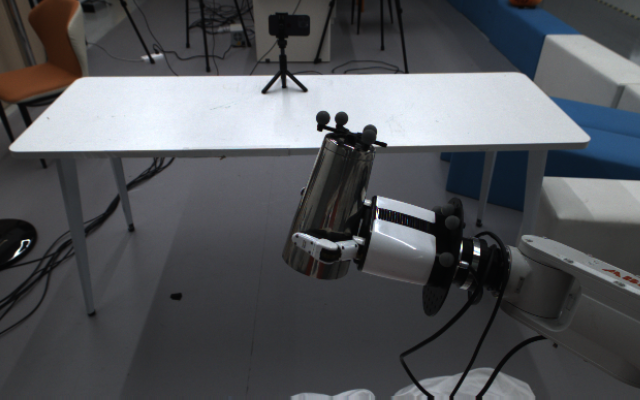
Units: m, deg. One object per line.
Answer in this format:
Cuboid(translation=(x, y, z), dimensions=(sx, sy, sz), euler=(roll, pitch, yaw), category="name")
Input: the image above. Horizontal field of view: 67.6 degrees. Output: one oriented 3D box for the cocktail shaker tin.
Cuboid(translation=(0.016, 0.005, 0.623), dimensions=(0.093, 0.170, 0.093), euler=(14, 20, -5), category="cocktail shaker tin")
